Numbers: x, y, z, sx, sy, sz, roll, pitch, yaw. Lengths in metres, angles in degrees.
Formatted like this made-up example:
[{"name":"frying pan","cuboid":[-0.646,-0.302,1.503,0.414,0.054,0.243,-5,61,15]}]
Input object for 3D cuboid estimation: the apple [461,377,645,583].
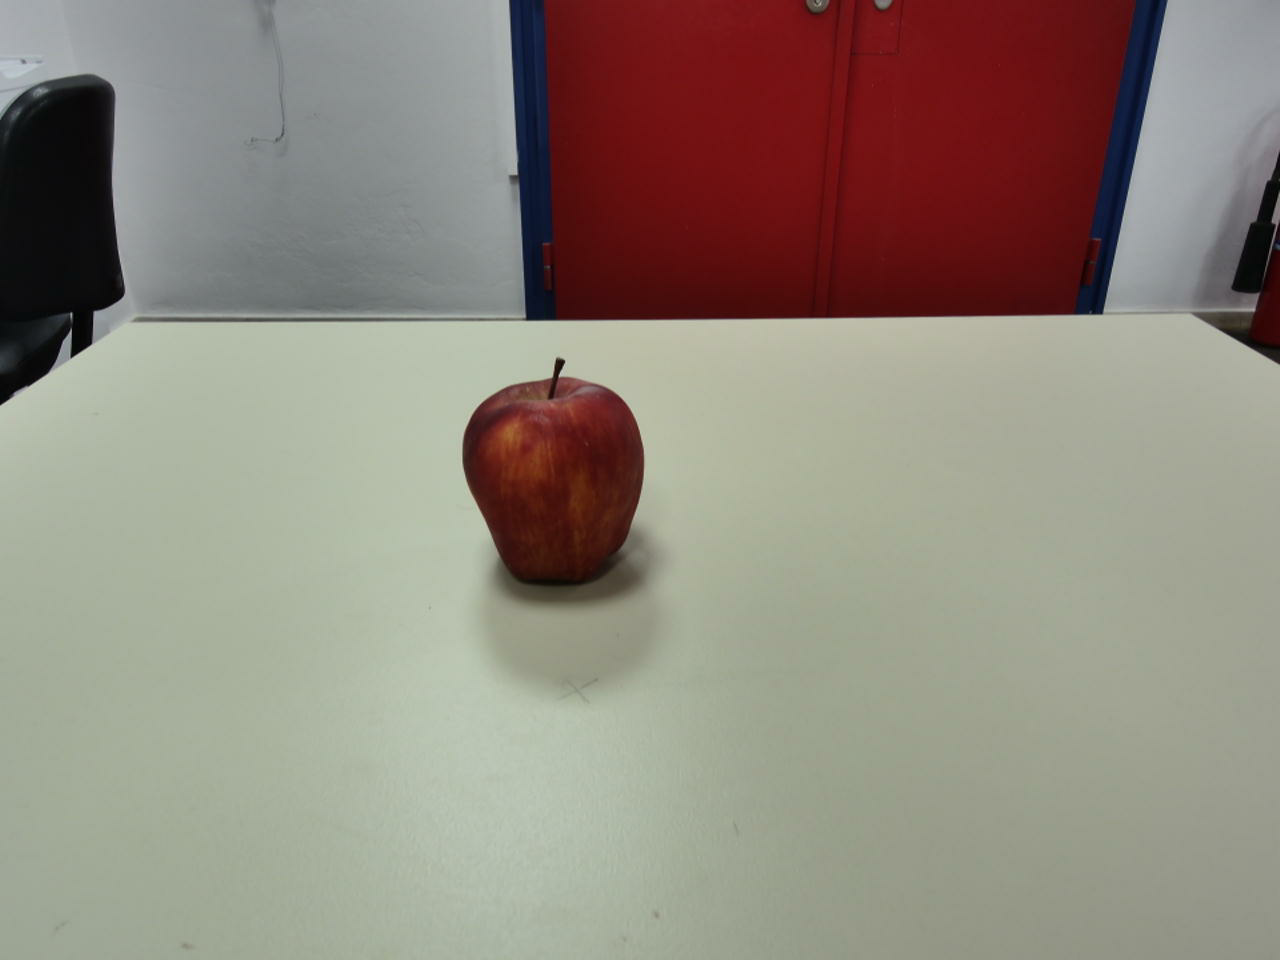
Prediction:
[{"name":"apple","cuboid":[-0.037,-0.007,0.424,0.083,0.090,0.083,0,24,0]}]
